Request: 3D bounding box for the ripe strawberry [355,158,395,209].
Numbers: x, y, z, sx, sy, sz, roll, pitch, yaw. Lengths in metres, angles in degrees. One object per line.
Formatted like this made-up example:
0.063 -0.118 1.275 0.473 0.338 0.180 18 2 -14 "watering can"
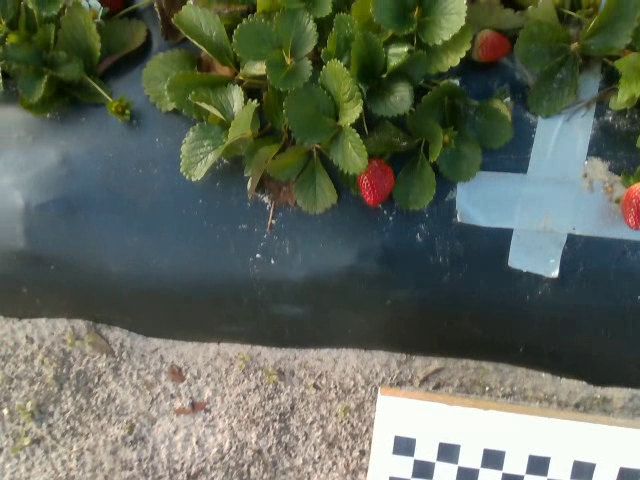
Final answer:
0.024 -0.025 0.249 0.018 0.023 0.020 1 -19 22 "ripe strawberry"
